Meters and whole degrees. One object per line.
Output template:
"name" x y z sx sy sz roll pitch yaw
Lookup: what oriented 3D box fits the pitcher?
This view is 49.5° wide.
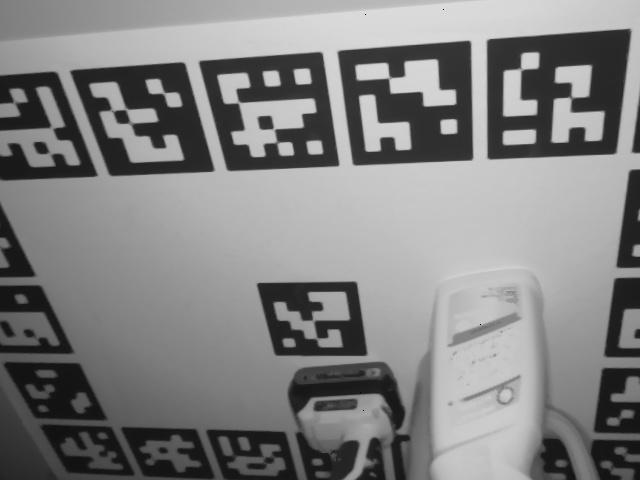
"pitcher" 0.153 0.194 0.602 0.186 0.245 0.133 -29 112 24

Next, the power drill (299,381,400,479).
"power drill" -0.006 0.216 0.651 0.183 0.189 0.057 -6 118 20

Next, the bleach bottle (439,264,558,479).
"bleach bottle" 0.143 0.119 0.531 0.102 0.253 0.067 -11 120 16
